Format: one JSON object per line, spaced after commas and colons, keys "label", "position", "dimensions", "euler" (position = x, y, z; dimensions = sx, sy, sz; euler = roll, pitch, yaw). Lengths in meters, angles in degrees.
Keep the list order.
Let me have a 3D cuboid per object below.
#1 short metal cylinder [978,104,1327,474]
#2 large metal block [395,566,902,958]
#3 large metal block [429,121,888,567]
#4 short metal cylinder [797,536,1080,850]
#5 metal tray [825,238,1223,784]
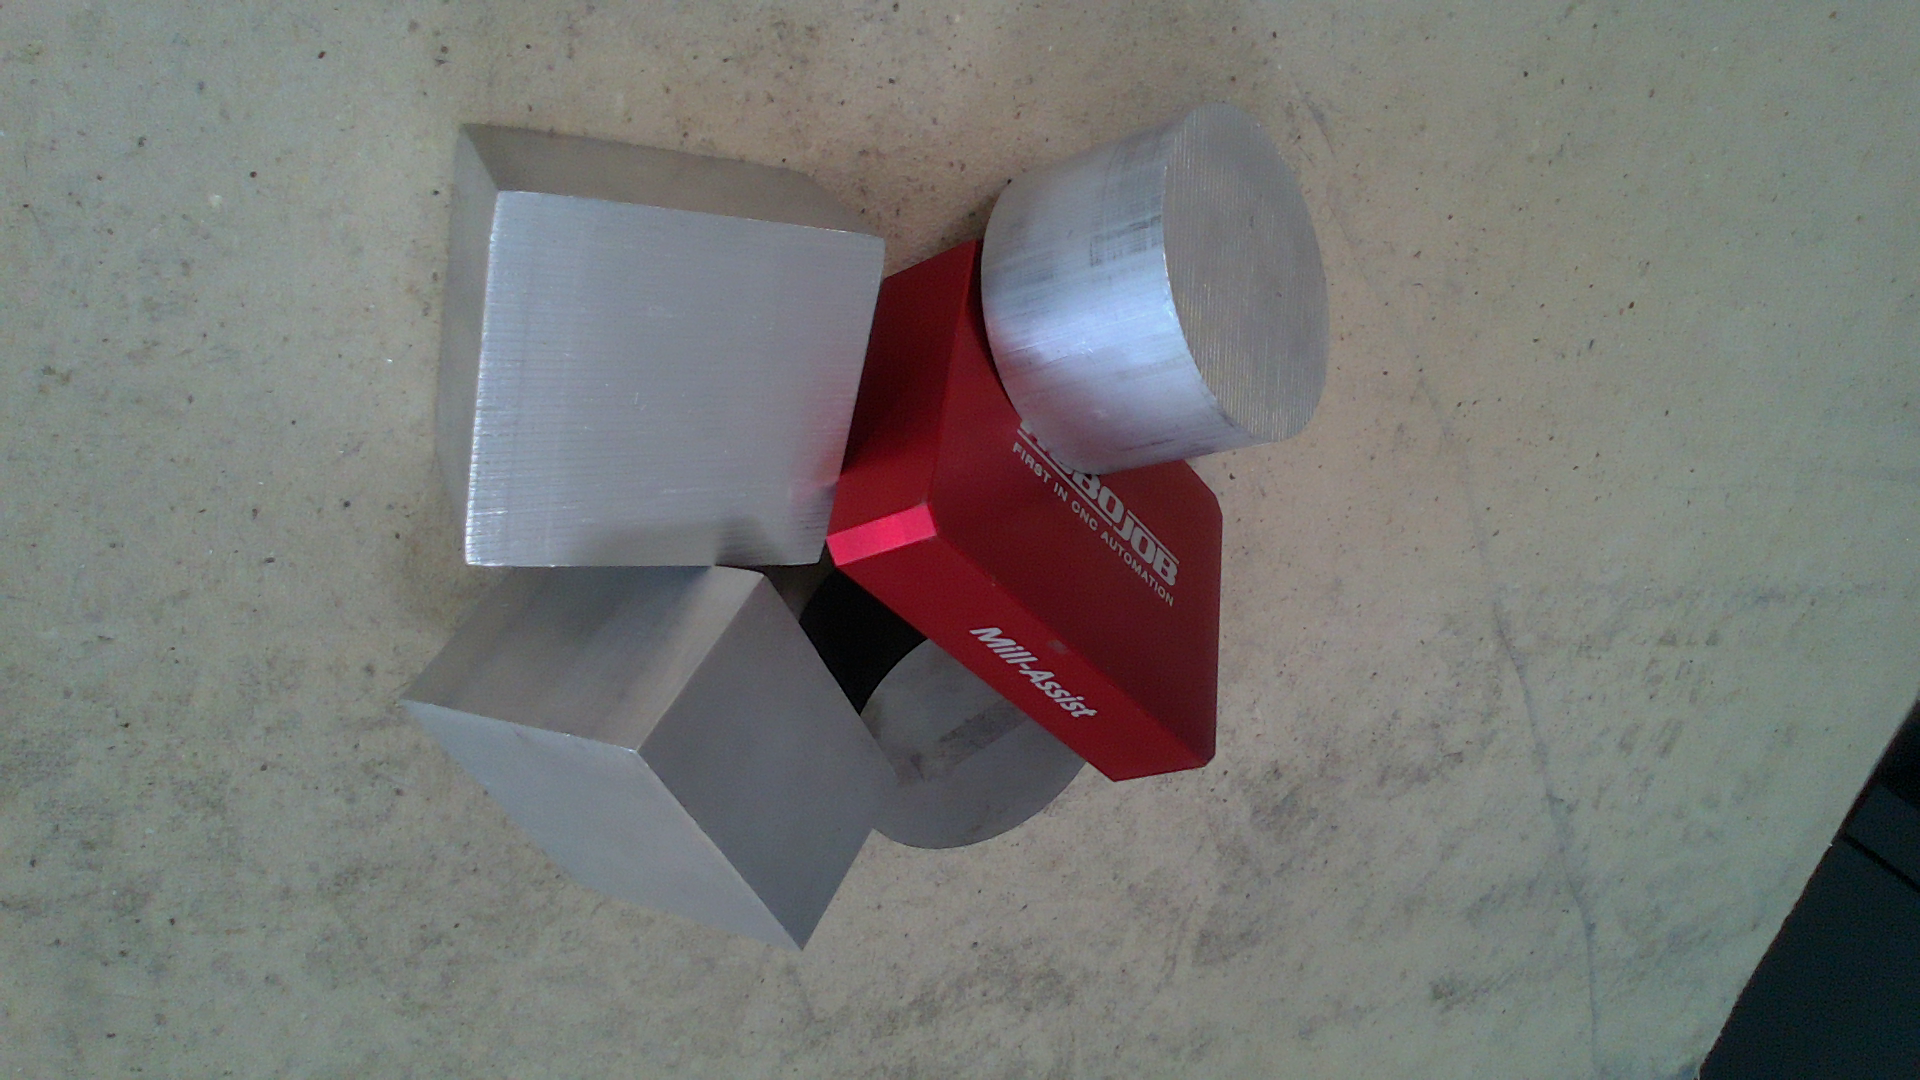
{"label": "short metal cylinder", "position": [0.049, -0.059, 0.338], "dimensions": [0.080, 0.050, 0.080], "euler": [12, 75, -49]}
{"label": "large metal block", "position": [-0.073, 0.050, 0.336], "dimensions": [0.050, 0.080, 0.080], "euler": [-59, 138, -33]}
{"label": "large metal block", "position": [-0.070, -0.041, 0.307], "dimensions": [0.080, 0.050, 0.080], "euler": [1, 118, -29]}
{"label": "short metal cylinder", "position": [-0.004, 0.042, 0.397], "dimensions": [0.080, 0.050, 0.080], "euler": [-14, 124, -21]}
{"label": "metal tray", "position": [0.025, -0.004, 0.360], "dimensions": [0.030, 0.090, 0.130], "euler": [-17, 139, 33]}
